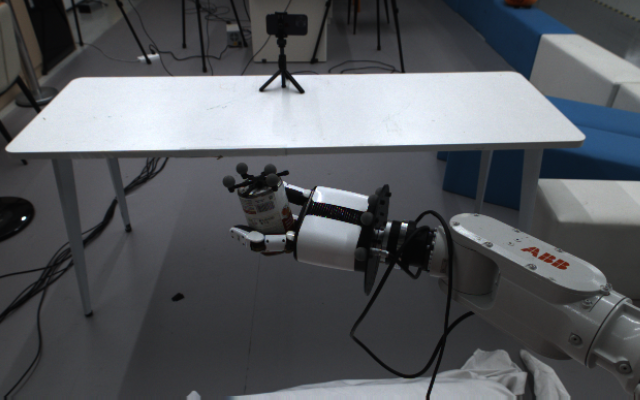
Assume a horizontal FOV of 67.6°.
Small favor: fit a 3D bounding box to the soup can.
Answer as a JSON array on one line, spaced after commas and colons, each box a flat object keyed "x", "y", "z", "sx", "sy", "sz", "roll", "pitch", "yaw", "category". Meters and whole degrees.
[{"x": -0.074, "y": 0.022, "z": 0.703, "sx": 0.067, "sy": 0.101, "sz": 0.067, "roll": -11, "pitch": 27, "yaw": 6, "category": "soup can"}]
